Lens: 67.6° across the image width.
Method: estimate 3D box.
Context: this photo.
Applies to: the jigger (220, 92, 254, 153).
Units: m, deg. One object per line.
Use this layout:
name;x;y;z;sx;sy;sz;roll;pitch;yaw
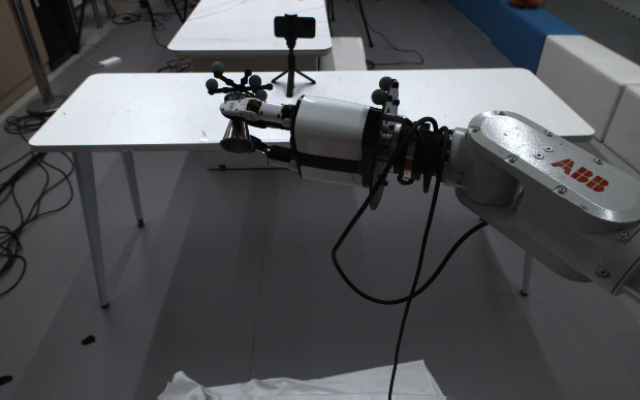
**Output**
jigger;-0.107;-0.102;0.630;0.043;0.043;0.071;1;70;-2
